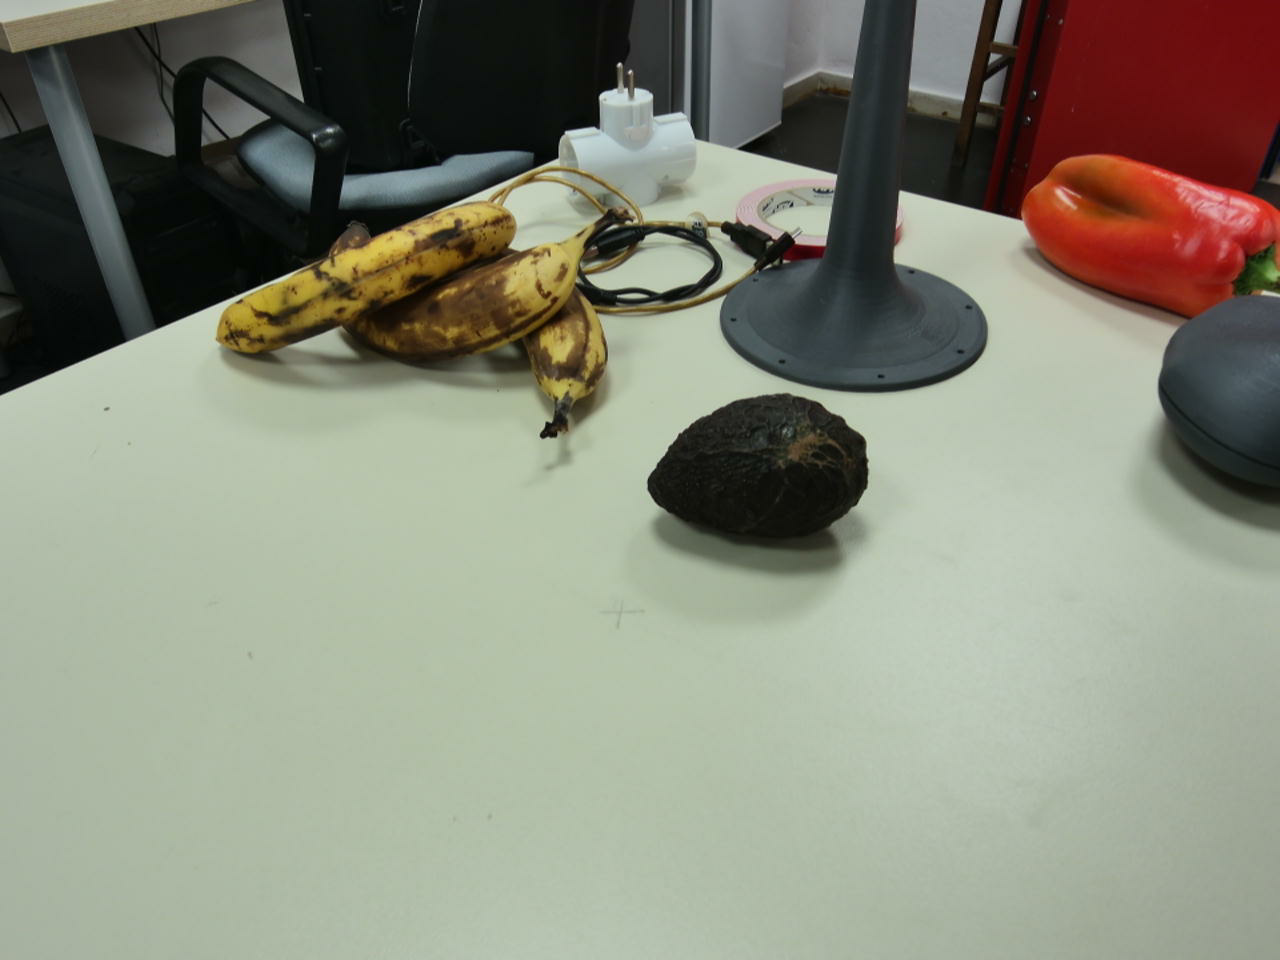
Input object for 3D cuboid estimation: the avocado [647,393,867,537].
[{"bbox_3d":[0.051,-0.007,0.432,0.092,0.062,0.062,10,38,13],"label":"avocado"}]
